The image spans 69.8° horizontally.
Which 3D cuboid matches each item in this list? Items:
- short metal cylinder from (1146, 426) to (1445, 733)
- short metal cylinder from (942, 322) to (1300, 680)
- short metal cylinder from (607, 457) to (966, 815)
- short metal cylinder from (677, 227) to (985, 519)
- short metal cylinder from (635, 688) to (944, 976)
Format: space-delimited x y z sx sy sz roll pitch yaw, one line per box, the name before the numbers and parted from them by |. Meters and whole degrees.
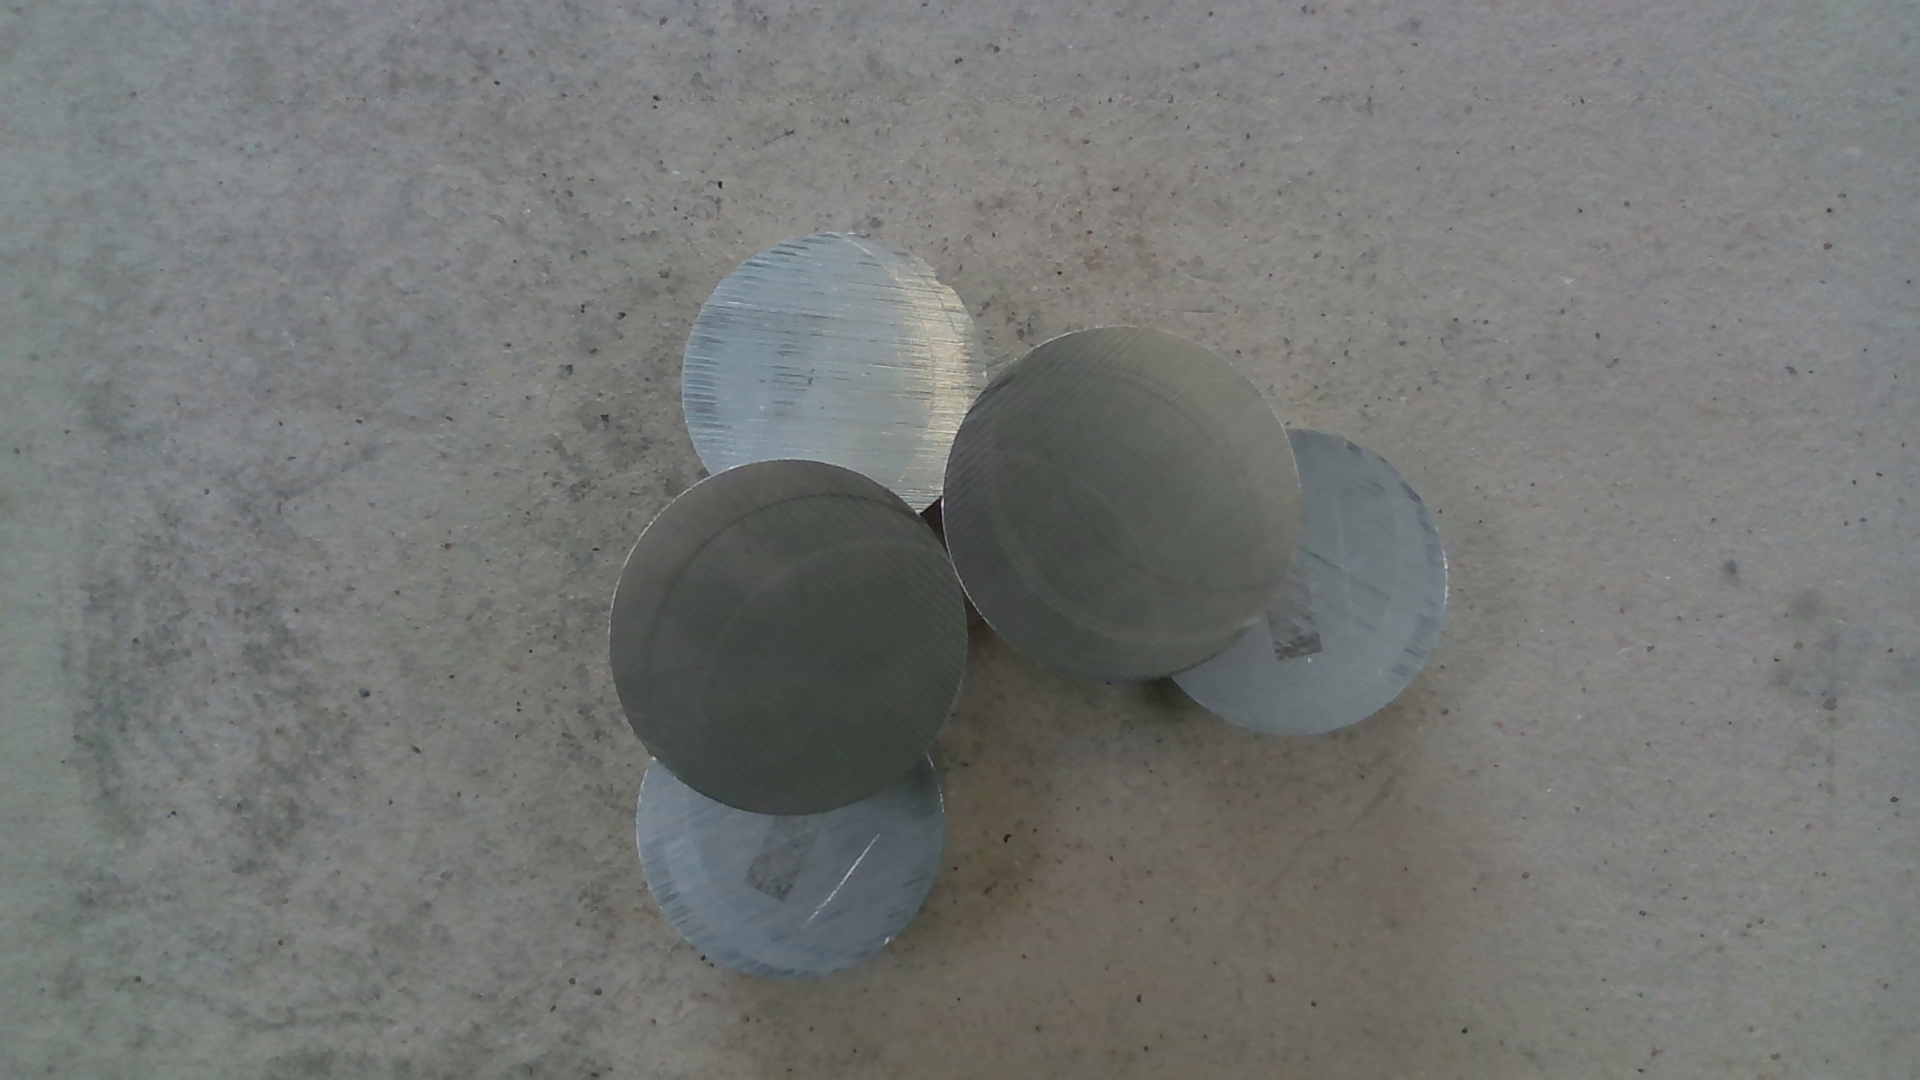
short metal cylinder | 0.086 0.010 0.383 0.080 0.050 0.080 0 90 0
short metal cylinder | 0.036 -0.009 0.332 0.080 0.050 0.080 0 90 0
short metal cylinder | -0.039 0.021 0.332 0.080 0.050 0.080 0 91 0
short metal cylinder | -0.034 -0.041 0.383 0.080 0.050 0.080 0 90 0
short metal cylinder | -0.045 0.074 0.383 0.080 0.050 0.080 0 90 0
